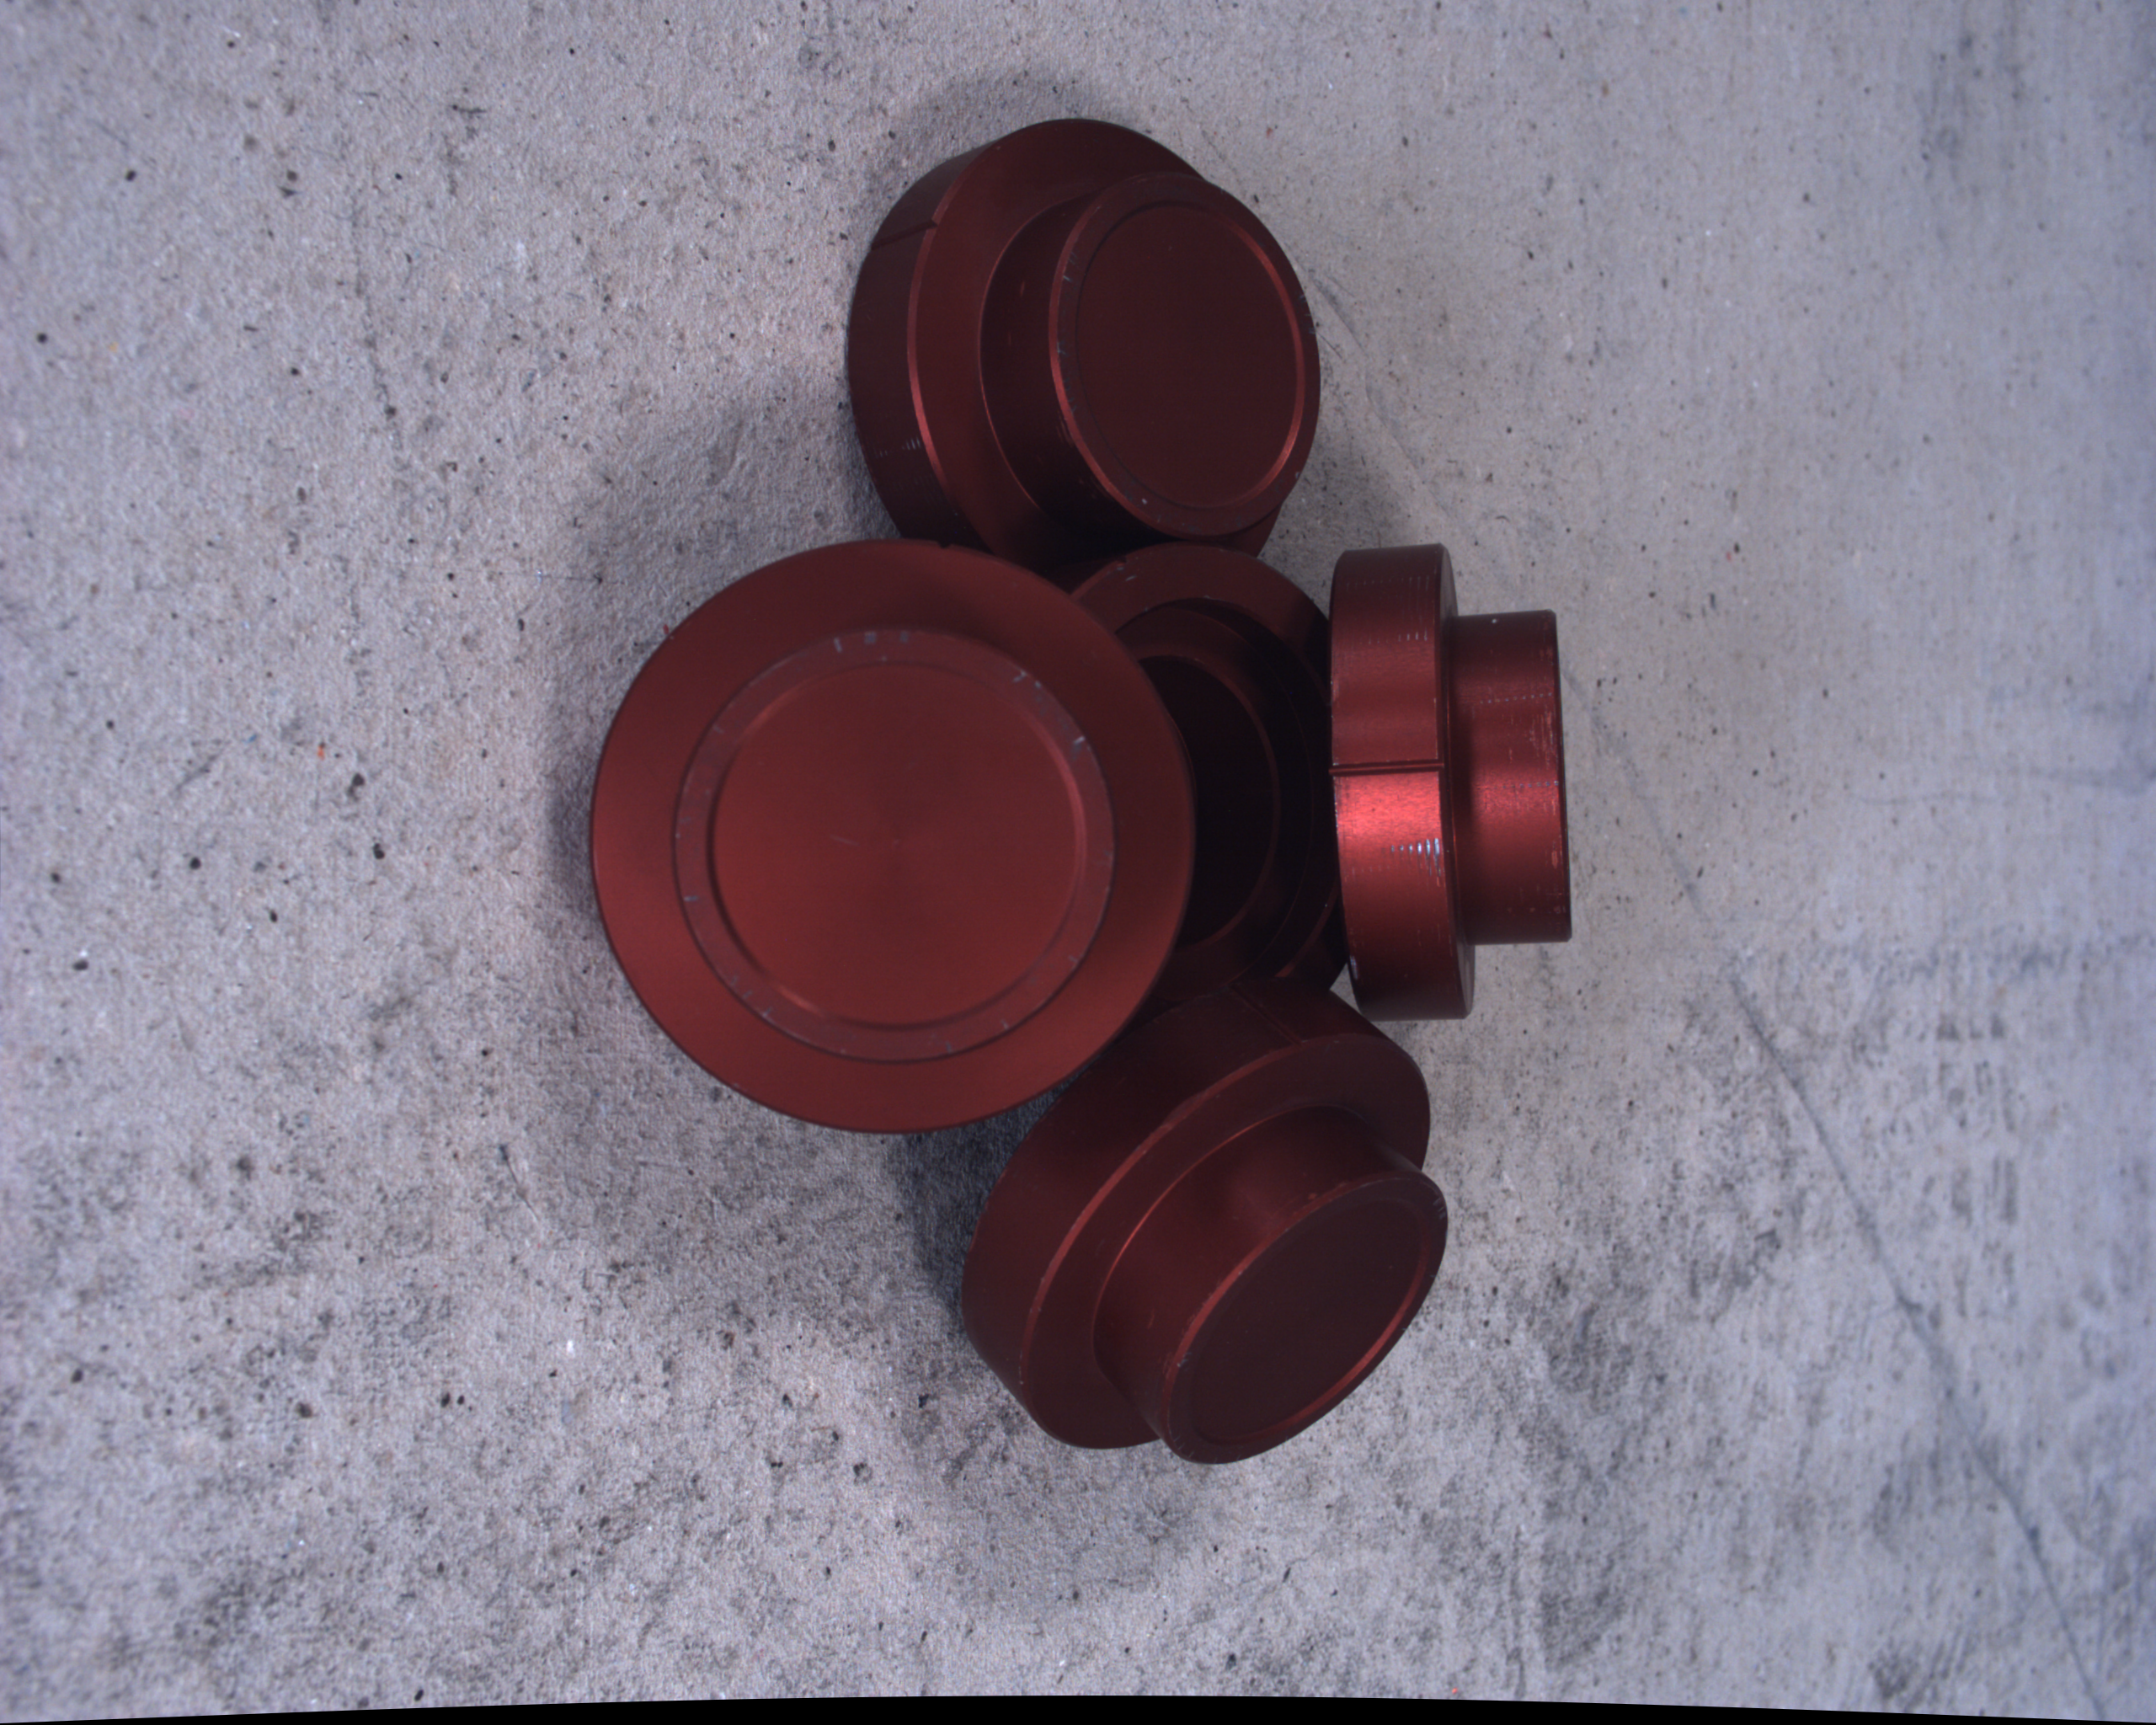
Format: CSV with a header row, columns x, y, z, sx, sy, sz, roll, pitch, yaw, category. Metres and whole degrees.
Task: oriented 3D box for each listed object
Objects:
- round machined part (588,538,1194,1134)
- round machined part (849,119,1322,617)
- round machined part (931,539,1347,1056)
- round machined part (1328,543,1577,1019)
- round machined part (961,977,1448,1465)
x,y,z,sx,sy,sz,roll,pitch,yaw,category
-0.030,-0.004,0.339,0.099,0.042,0.097,0,94,-7,round machined part
0.008,-0.094,0.401,0.099,0.042,0.097,1,88,-40,round machined part
0.012,-0.011,0.405,0.099,0.042,0.097,1,89,-38,round machined part
0.079,-0.017,0.428,0.098,0.042,0.097,-4,91,-76,round machined part
0.030,0.073,0.393,0.099,0.042,0.097,-24,134,-27,round machined part
